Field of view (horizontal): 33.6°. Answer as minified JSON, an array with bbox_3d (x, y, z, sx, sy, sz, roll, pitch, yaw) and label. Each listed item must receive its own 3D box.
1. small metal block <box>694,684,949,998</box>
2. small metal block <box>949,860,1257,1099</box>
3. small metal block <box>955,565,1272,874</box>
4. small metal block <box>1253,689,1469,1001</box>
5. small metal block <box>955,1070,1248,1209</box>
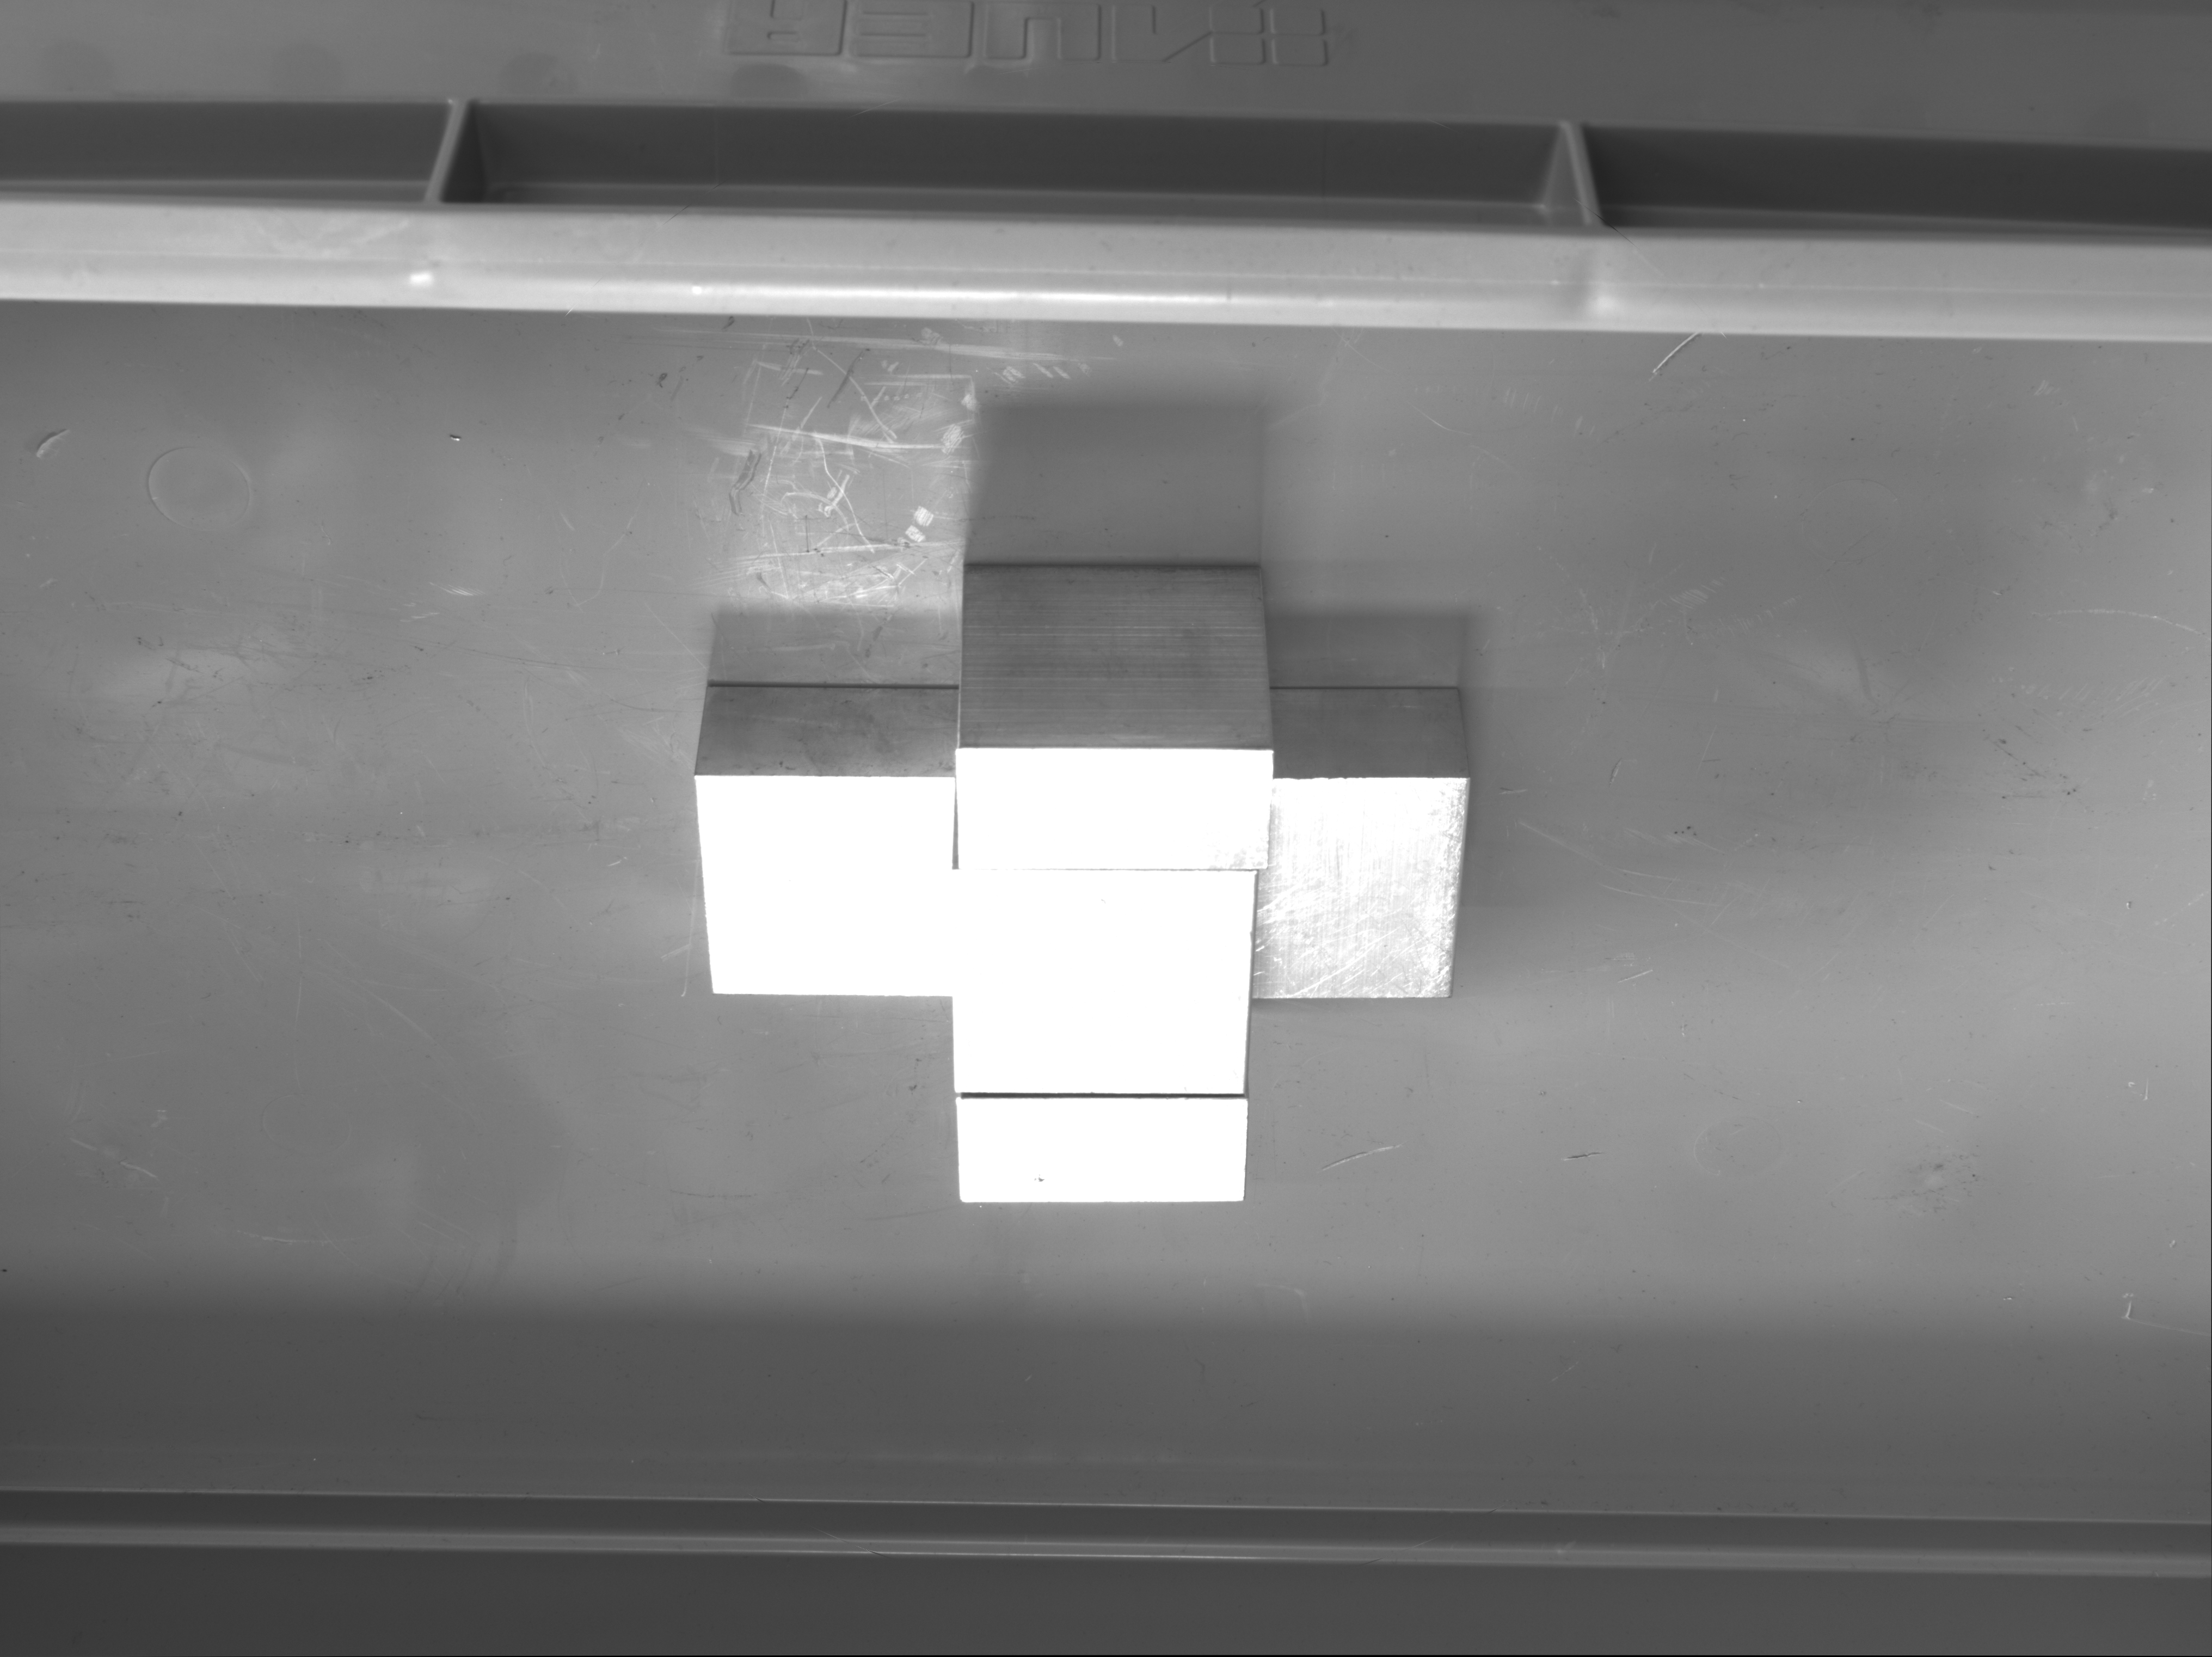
[{"bbox_3d":[-0.044,0.003,0.639,0.050,0.025,0.050,0,130,0],"label":"small metal block"},{"bbox_3d":[-0.001,0.019,0.619,0.050,0.025,0.050,0,130,-1],"label":"small metal block"},{"bbox_3d":[0.001,-0.018,0.605,0.050,0.050,0.025,0,130,-1],"label":"small metal block"},{"bbox_3d":[0.036,0.003,0.640,0.050,0.025,0.050,0,130,-1],"label":"small metal block"},{"bbox_3d":[-0.001,0.041,0.653,0.050,0.050,0.025,0,130,-1],"label":"small metal block"}]
